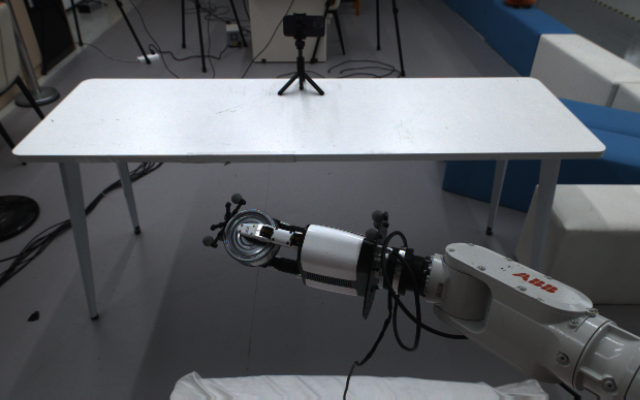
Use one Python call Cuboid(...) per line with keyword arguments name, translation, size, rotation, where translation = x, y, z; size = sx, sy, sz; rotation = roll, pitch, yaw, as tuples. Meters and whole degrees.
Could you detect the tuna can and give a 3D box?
Cuboid(name="tuna can", translation=(-0.101, 0.061, 0.742), size=(0.085, 0.034, 0.085), rotation=(-2, 73, 6))
